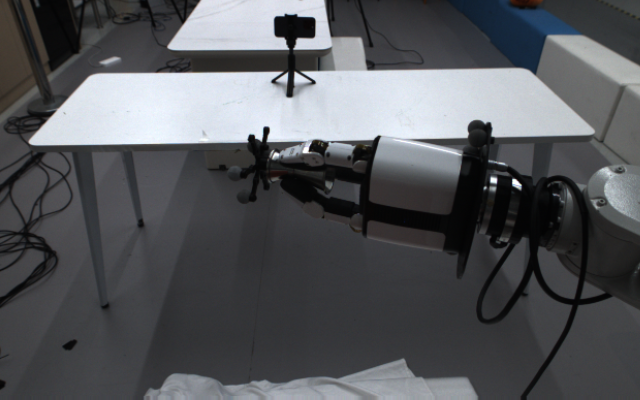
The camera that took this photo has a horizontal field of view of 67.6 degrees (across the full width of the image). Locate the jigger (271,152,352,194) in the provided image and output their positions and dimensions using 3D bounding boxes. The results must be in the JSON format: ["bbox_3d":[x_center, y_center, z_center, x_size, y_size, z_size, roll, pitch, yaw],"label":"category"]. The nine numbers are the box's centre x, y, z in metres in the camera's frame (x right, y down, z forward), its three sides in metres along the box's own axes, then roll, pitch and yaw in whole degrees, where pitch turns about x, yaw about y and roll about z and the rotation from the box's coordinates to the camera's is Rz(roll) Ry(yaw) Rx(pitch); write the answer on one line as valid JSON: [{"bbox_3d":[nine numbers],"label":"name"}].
[{"bbox_3d":[-0.014,-0.037,0.537,0.071,0.043,0.043,9,35,16],"label":"jigger"}]
